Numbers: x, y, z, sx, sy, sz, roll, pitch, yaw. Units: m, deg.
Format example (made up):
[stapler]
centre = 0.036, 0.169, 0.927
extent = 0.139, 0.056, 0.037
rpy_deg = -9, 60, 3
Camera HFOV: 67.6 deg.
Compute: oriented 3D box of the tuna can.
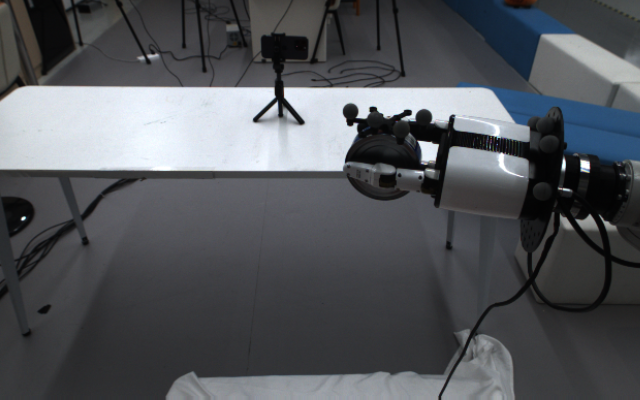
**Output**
[tuna can]
centre = 0.075, -0.047, 0.558
extent = 0.085, 0.085, 0.034
rpy_deg = 10, 34, 11
